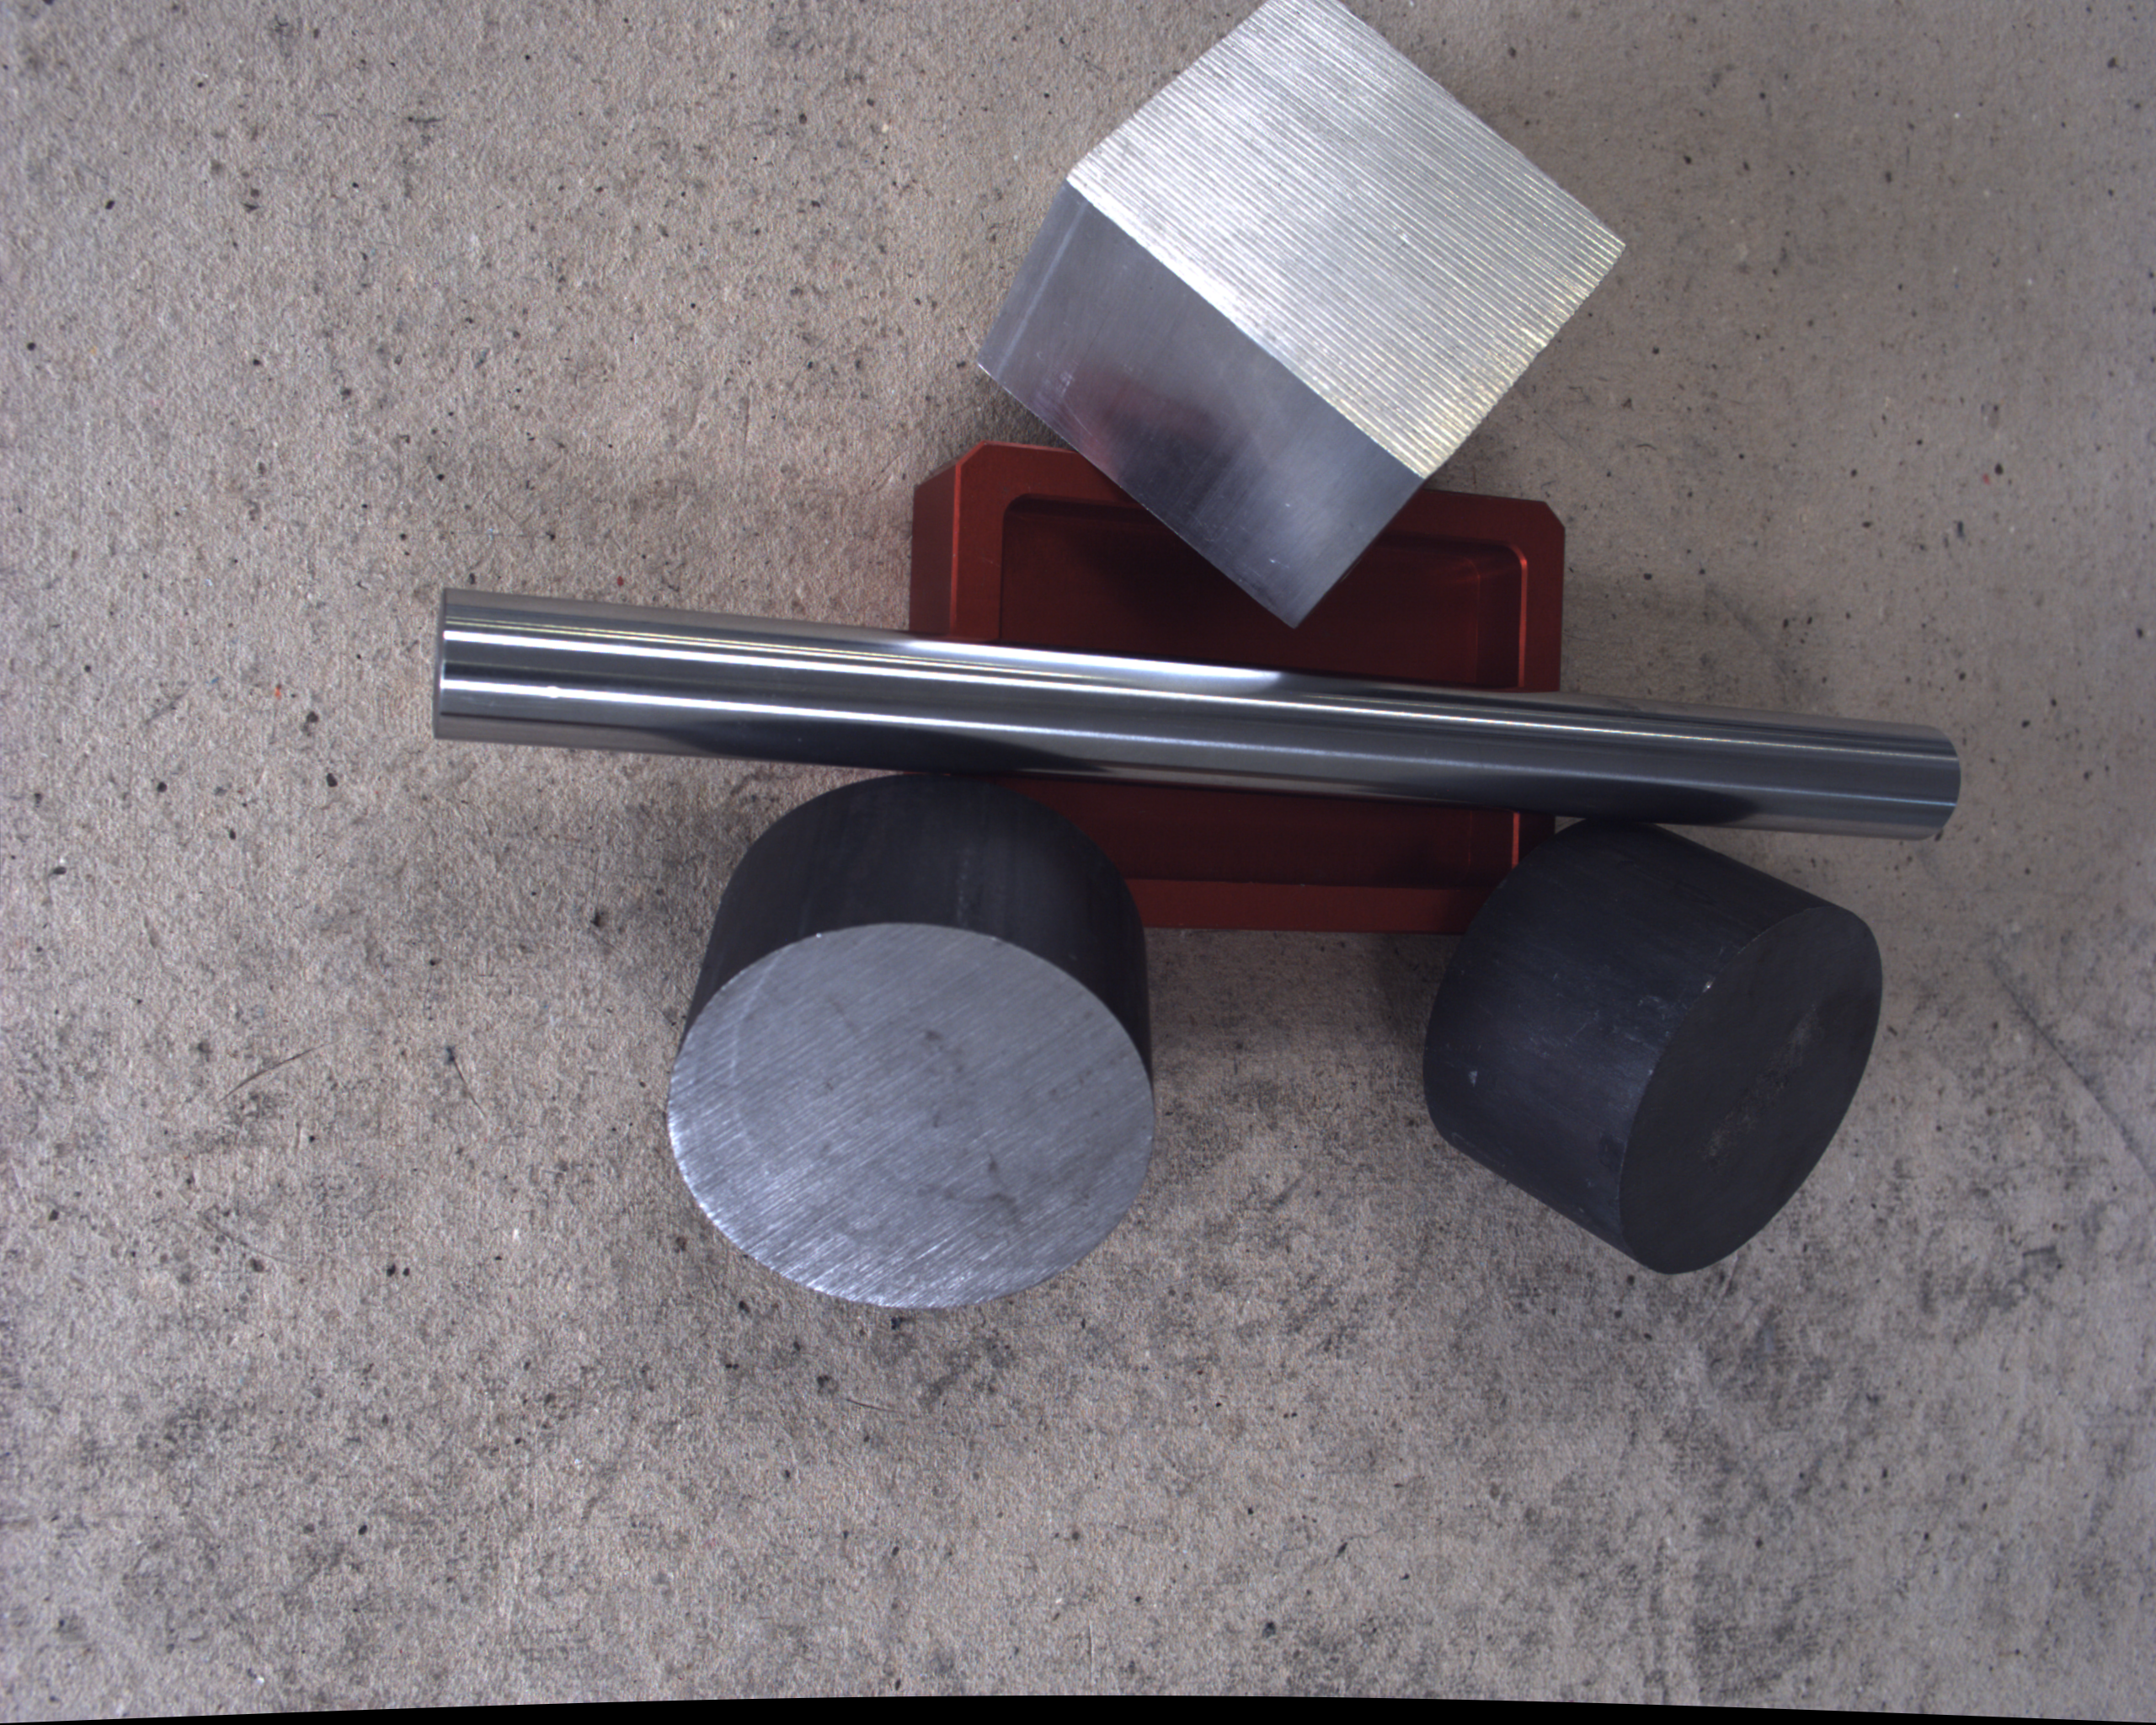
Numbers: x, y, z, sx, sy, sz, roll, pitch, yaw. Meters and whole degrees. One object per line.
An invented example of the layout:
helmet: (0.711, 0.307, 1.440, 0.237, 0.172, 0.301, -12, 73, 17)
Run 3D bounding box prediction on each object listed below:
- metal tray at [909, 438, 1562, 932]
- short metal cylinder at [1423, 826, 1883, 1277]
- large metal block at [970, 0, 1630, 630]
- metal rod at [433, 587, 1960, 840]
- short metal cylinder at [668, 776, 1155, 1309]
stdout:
metal tray: (0.032, -0.032, 0.420, 0.131, 0.030, 0.089, 2, 89, -20)
short metal cylinder: (0.117, 0.036, 0.423, 0.081, 0.050, 0.079, -20, 123, -33)
large metal block: (0.041, -0.105, 0.389, 0.080, 0.050, 0.080, 41, 60, 0)
metal rod: (0.037, -0.025, 0.392, 0.302, 0.025, 0.025, 3, 89, -20)
short metal cylinder: (-0.027, 0.031, 0.367, 0.081, 0.050, 0.079, 0, 120, 0)
